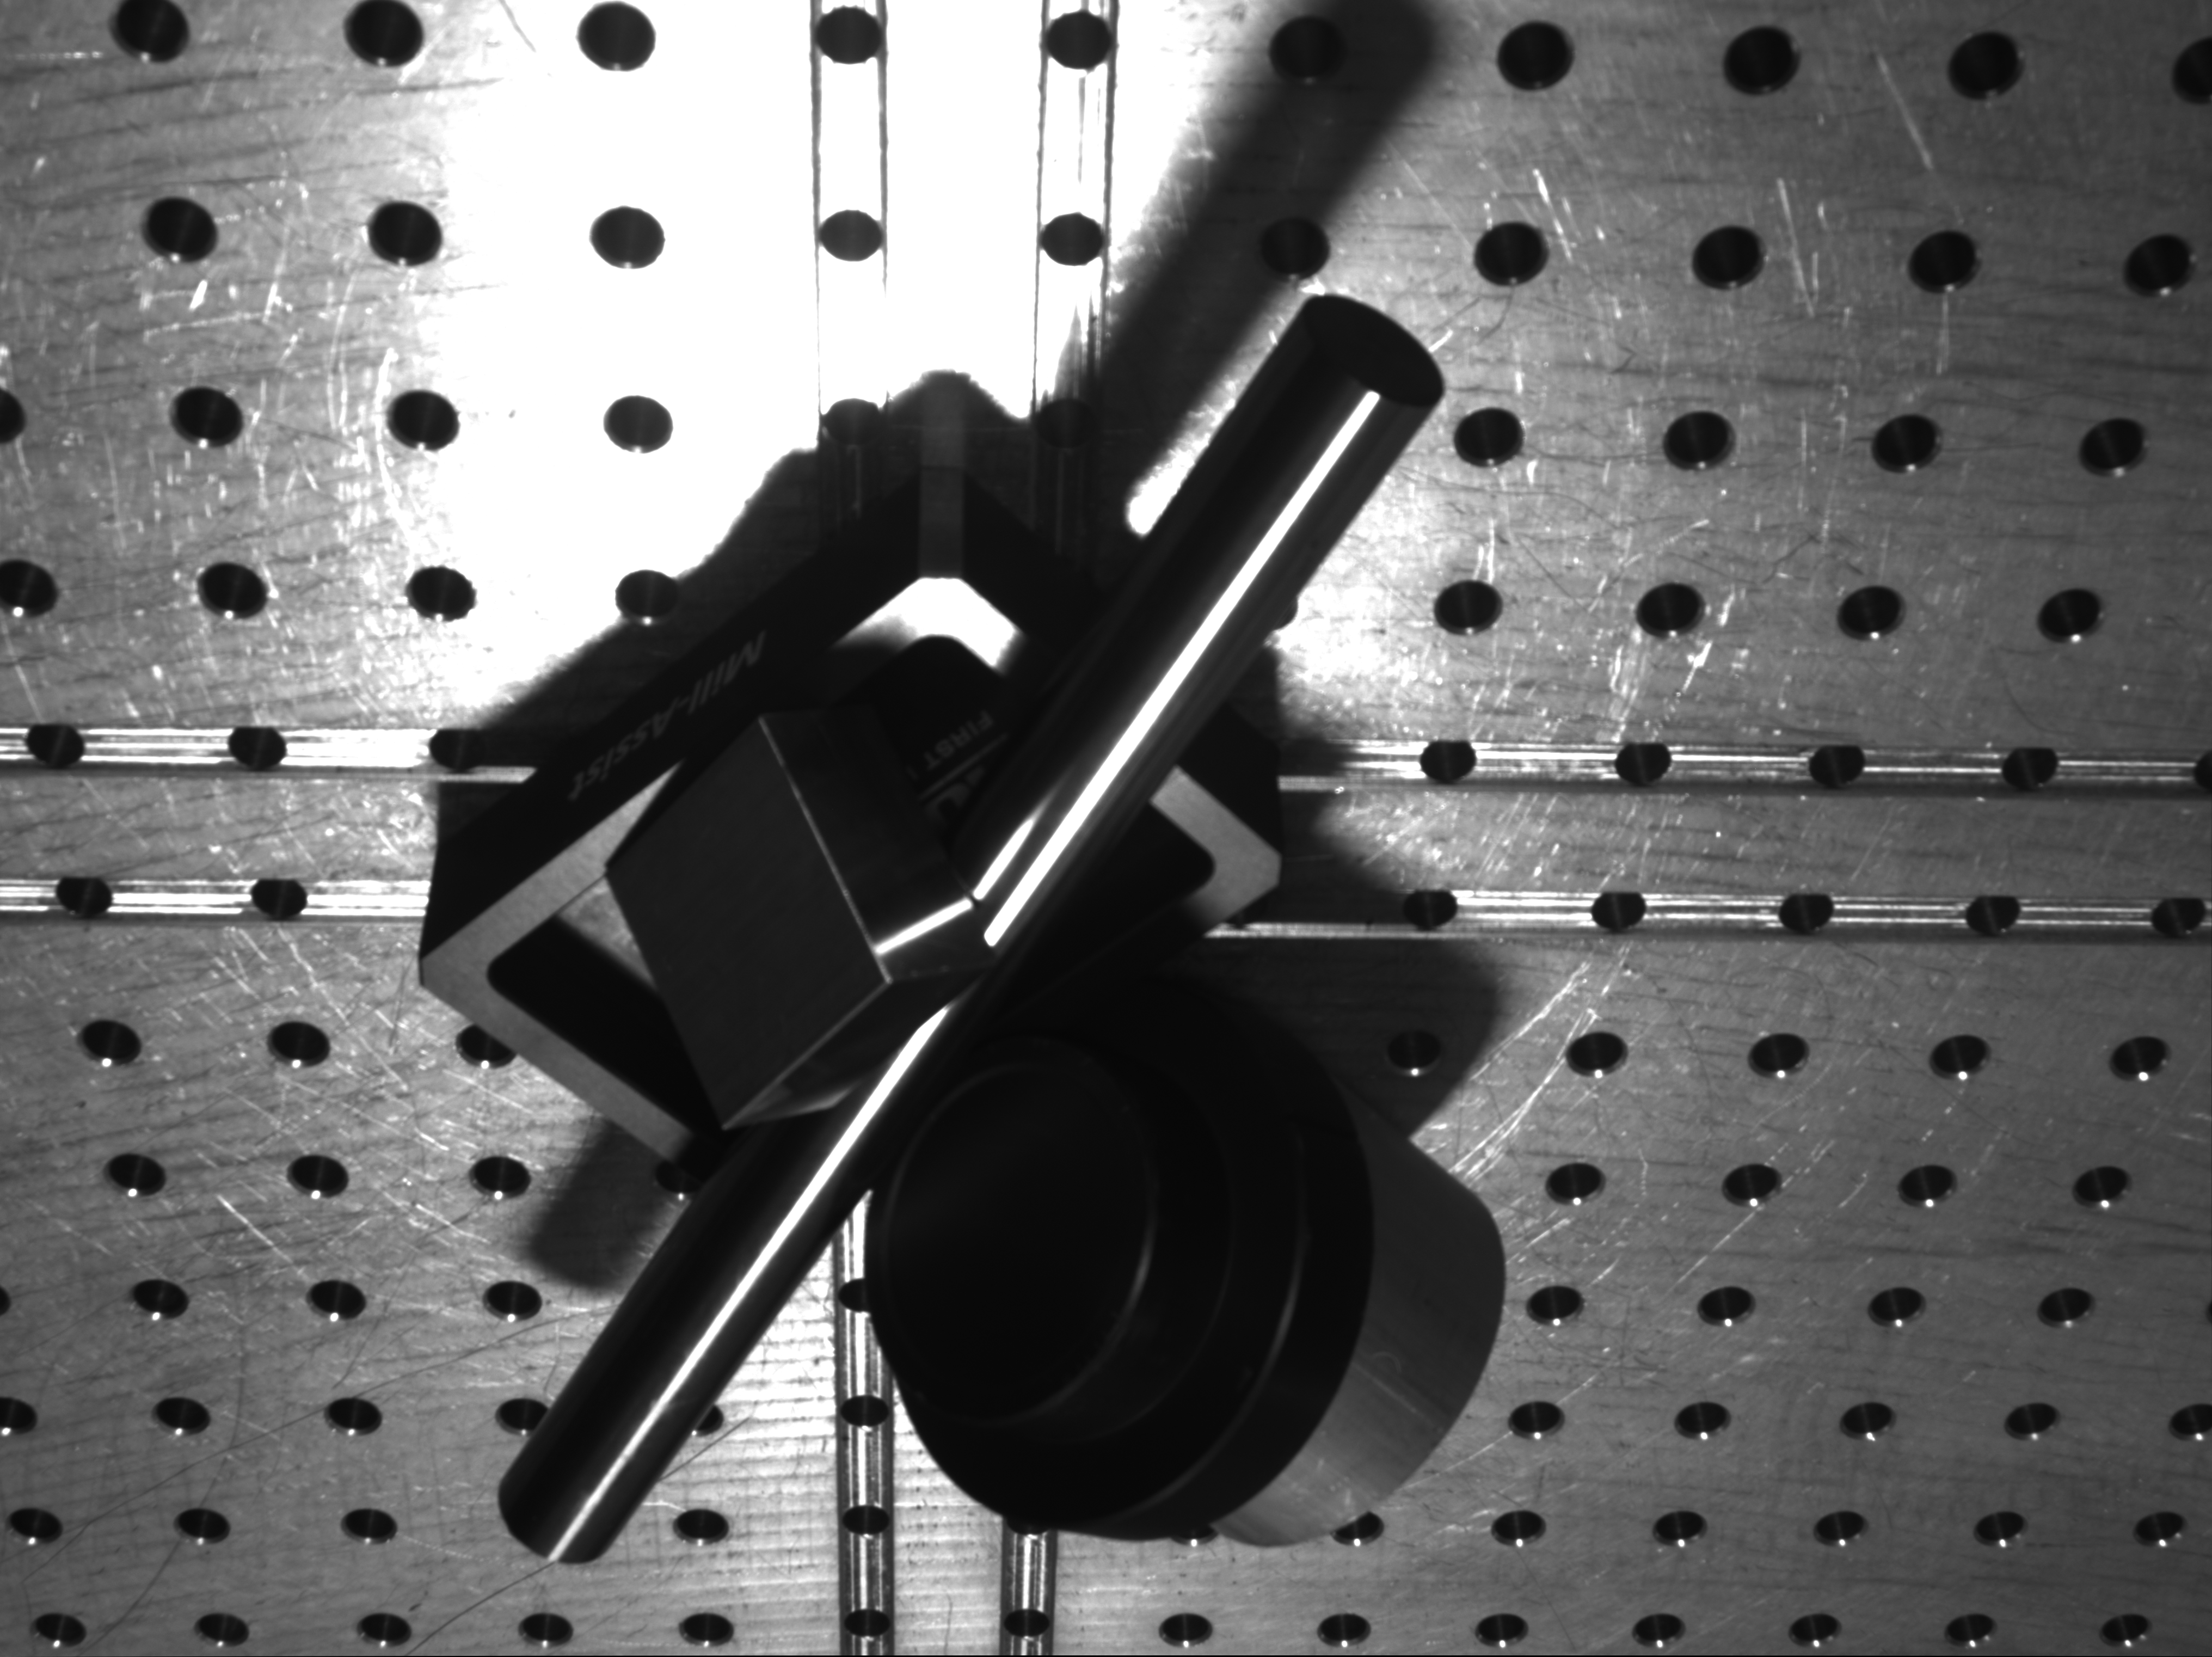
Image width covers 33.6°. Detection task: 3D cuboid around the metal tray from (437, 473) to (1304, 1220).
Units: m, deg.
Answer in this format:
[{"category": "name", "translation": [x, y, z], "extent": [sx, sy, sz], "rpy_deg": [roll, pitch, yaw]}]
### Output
[{"category": "metal tray", "translation": [-0.042, 0.007, 0.642], "extent": [0.130, 0.030, 0.090], "rpy_deg": [-35, 123, 25]}]

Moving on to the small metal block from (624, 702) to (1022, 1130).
[{"category": "small metal block", "translation": [-0.048, 0.014, 0.607], "extent": [0.025, 0.050, 0.050], "rpy_deg": [-9, 155, -46]}]

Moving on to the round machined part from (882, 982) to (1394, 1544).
[{"category": "round machined part", "translation": [-0.001, 0.074, 0.643], "extent": [0.098, 0.098, 0.042], "rpy_deg": [-38, 143, 26]}]

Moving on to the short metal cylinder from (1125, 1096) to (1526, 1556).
[{"category": "short metal cylinder", "translation": [0.031, 0.087, 0.678], "extent": [0.080, 0.080, 0.050], "rpy_deg": [-36, 122, 25]}]

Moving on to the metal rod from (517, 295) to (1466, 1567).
[{"category": "metal rod", "translation": [-0.030, 0.031, 0.627], "extent": [0.025, 0.025, 0.300], "rpy_deg": [22, 126, -19]}]
